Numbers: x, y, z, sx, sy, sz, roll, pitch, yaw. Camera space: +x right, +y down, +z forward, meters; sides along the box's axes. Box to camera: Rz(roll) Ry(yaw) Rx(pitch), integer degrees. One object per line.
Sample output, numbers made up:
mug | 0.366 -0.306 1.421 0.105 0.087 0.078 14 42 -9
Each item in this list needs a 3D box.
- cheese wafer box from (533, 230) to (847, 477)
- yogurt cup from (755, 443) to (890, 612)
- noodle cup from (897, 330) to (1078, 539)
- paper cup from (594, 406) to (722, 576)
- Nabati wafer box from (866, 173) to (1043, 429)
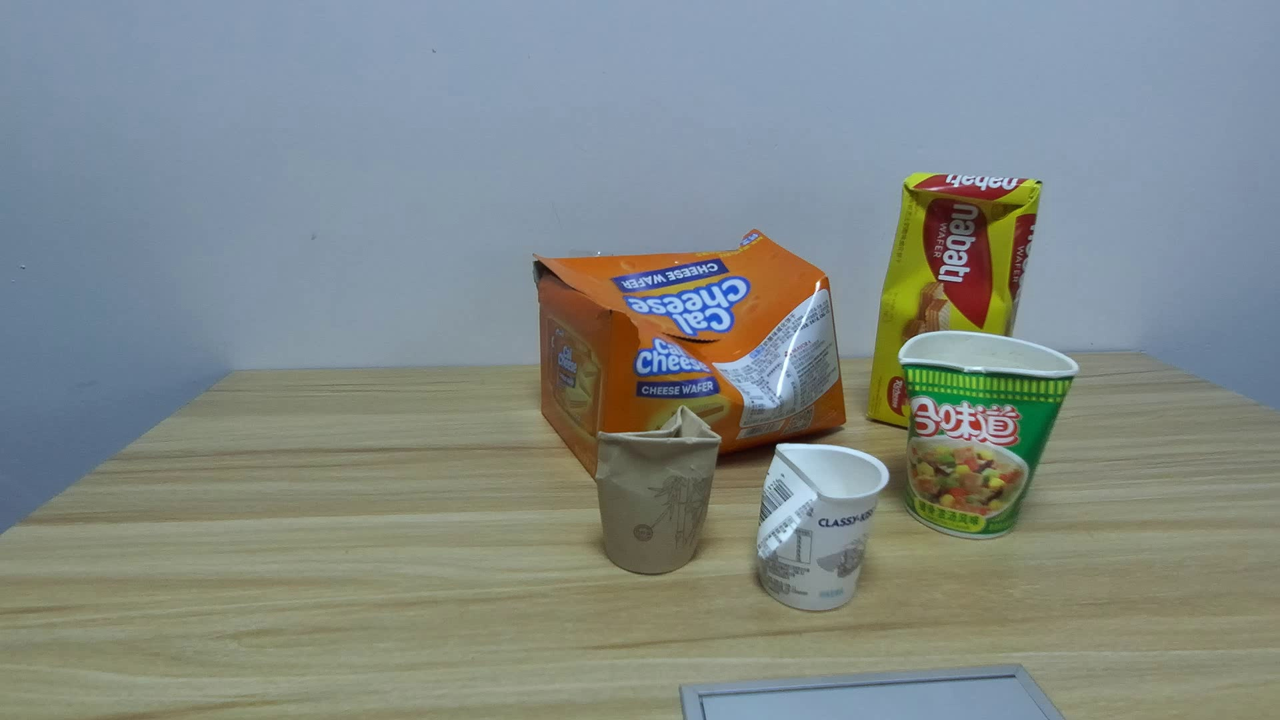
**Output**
cheese wafer box | 0.046 -0.013 0.563 0.220 0.145 0.190 -8 20 -24
yogurt cup | 0.095 0.089 0.379 0.067 0.070 0.067 0 18 0
noodle cup | 0.212 0.046 0.446 0.093 0.109 0.087 15 24 35
paper cup | 0.008 0.072 0.410 0.066 0.083 0.058 0 18 -2
Nabati wafer box | 0.244 -0.041 0.559 0.096 0.203 0.042 15 23 32
